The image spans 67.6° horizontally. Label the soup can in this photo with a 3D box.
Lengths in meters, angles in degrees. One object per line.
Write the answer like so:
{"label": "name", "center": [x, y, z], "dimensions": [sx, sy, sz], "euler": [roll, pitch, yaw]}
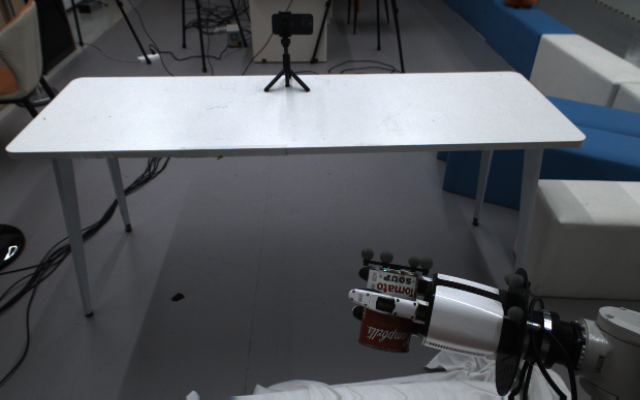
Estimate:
{"label": "soup can", "center": [0.093, 0.143, 0.639], "dimensions": [0.067, 0.101, 0.067], "euler": [9, -6, 1]}
